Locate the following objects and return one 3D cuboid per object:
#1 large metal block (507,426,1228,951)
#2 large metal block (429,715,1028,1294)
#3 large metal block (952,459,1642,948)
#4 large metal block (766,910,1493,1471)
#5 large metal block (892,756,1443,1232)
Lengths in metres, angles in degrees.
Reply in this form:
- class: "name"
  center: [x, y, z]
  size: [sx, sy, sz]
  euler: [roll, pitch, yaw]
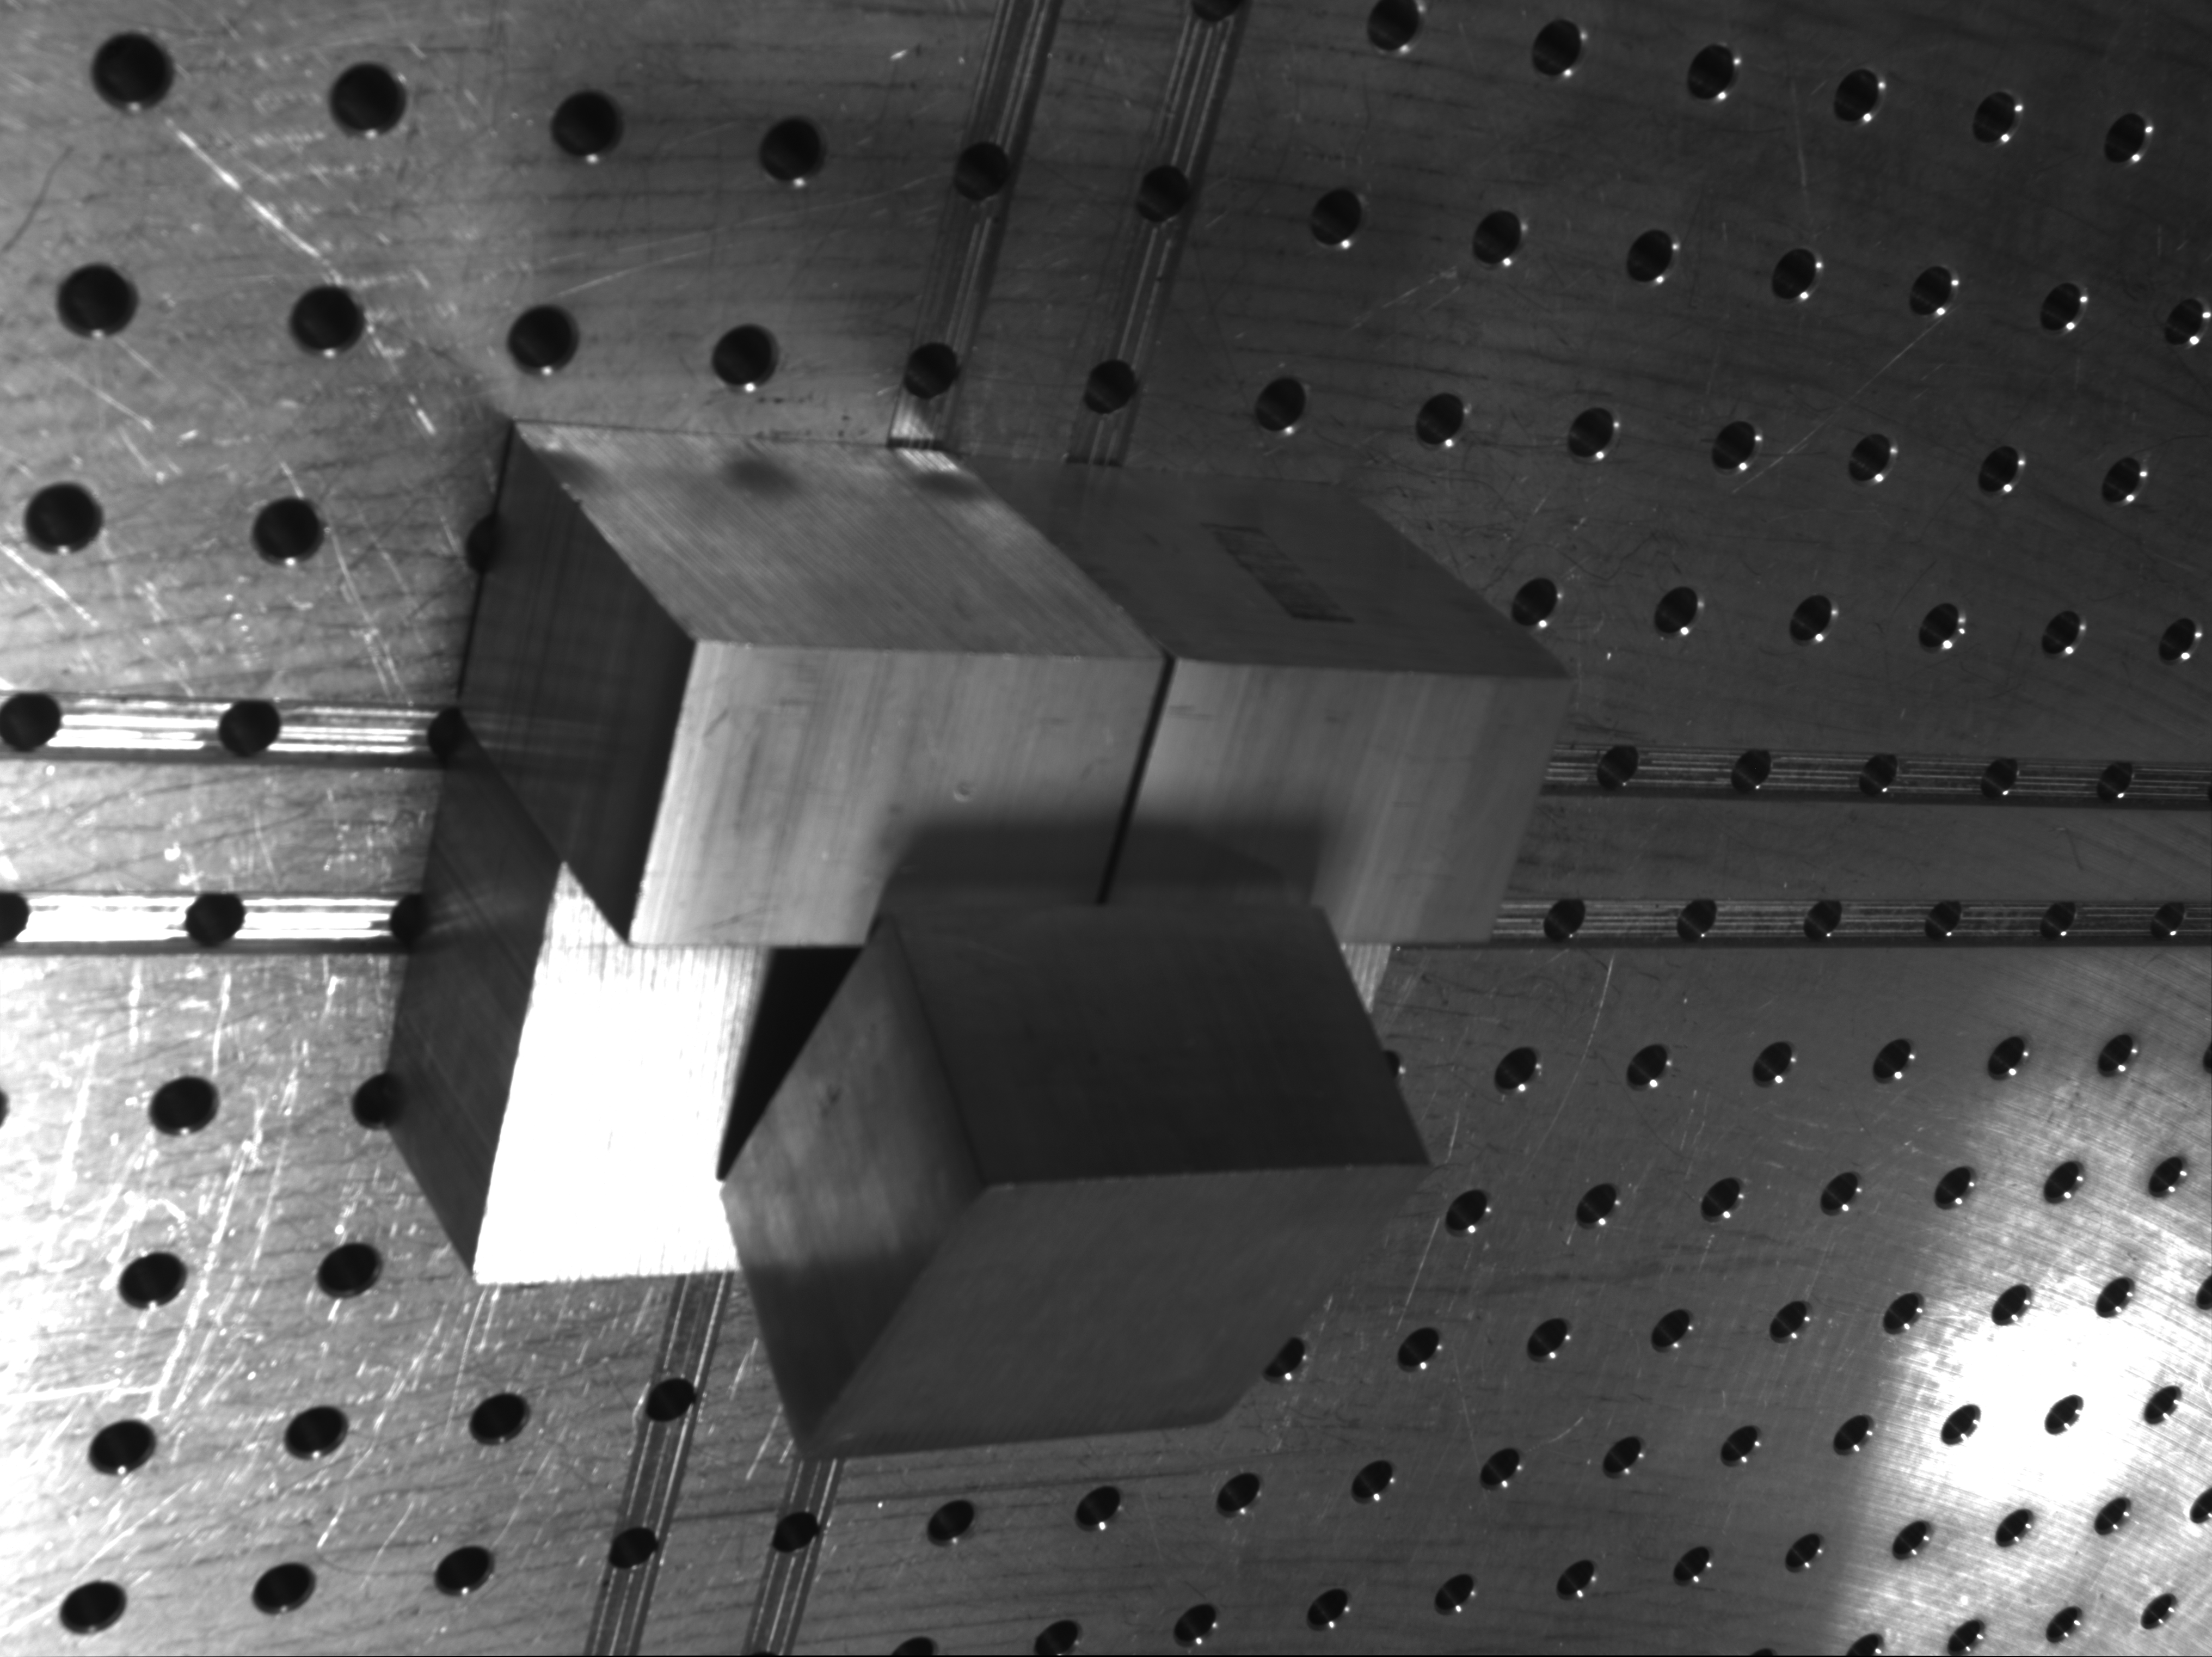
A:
- class: "large metal block"
  center: [-0.040, -0.022, 0.580]
  size: [0.080, 0.080, 0.050]
  euler: [1, 118, -31]
- class: "large metal block"
  center: [-0.061, 0.029, 0.617]
  size: [0.080, 0.050, 0.080]
  euler: [1, 118, -31]
- class: "large metal block"
  center: [0.030, -0.021, 0.621]
  size: [0.080, 0.080, 0.050]
  euler: [1, 118, -31]
- class: "large metal block"
  center: [0.002, 0.058, 0.587]
  size: [0.080, 0.050, 0.080]
  euler: [0, 142, -30]
- class: "large metal block"
  center: [0.009, 0.031, 0.658]
  size: [0.080, 0.050, 0.080]
  euler: [1, 118, -31]
